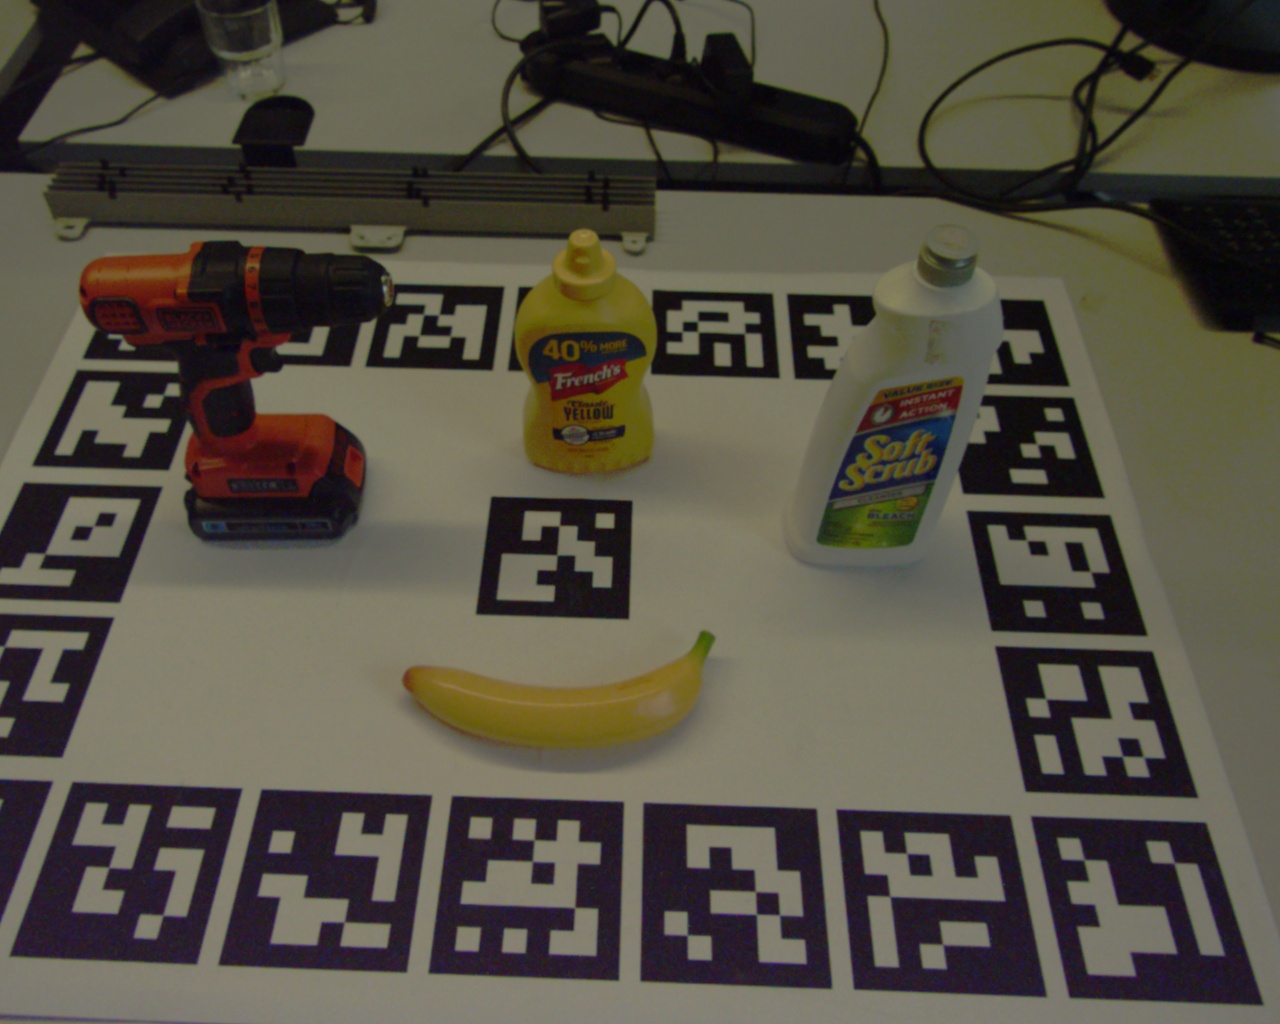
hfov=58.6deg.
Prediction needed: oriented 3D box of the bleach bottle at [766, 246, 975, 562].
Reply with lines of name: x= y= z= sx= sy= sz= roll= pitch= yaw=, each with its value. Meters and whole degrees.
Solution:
bleach bottle: x=0.148 y=-0.066 z=0.738 sx=0.103 sy=0.250 sz=0.068 roll=9 pitch=53 yaw=4

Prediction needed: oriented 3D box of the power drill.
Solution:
power drill: x=-0.232 y=-0.090 z=0.754 sx=0.184 sy=0.186 sz=0.057 roll=-5 pitch=53 yaw=0

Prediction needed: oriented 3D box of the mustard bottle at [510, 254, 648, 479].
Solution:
mustard bottle: x=-0.043 y=-0.103 z=0.805 sx=0.096 sy=0.191 sz=0.059 roll=-4 pitch=53 yaw=-7

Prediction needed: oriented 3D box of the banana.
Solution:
banana: x=-0.052 y=0.107 z=0.726 sx=0.197 sy=0.038 sz=0.074 roll=-4 pitch=54 yaw=0
